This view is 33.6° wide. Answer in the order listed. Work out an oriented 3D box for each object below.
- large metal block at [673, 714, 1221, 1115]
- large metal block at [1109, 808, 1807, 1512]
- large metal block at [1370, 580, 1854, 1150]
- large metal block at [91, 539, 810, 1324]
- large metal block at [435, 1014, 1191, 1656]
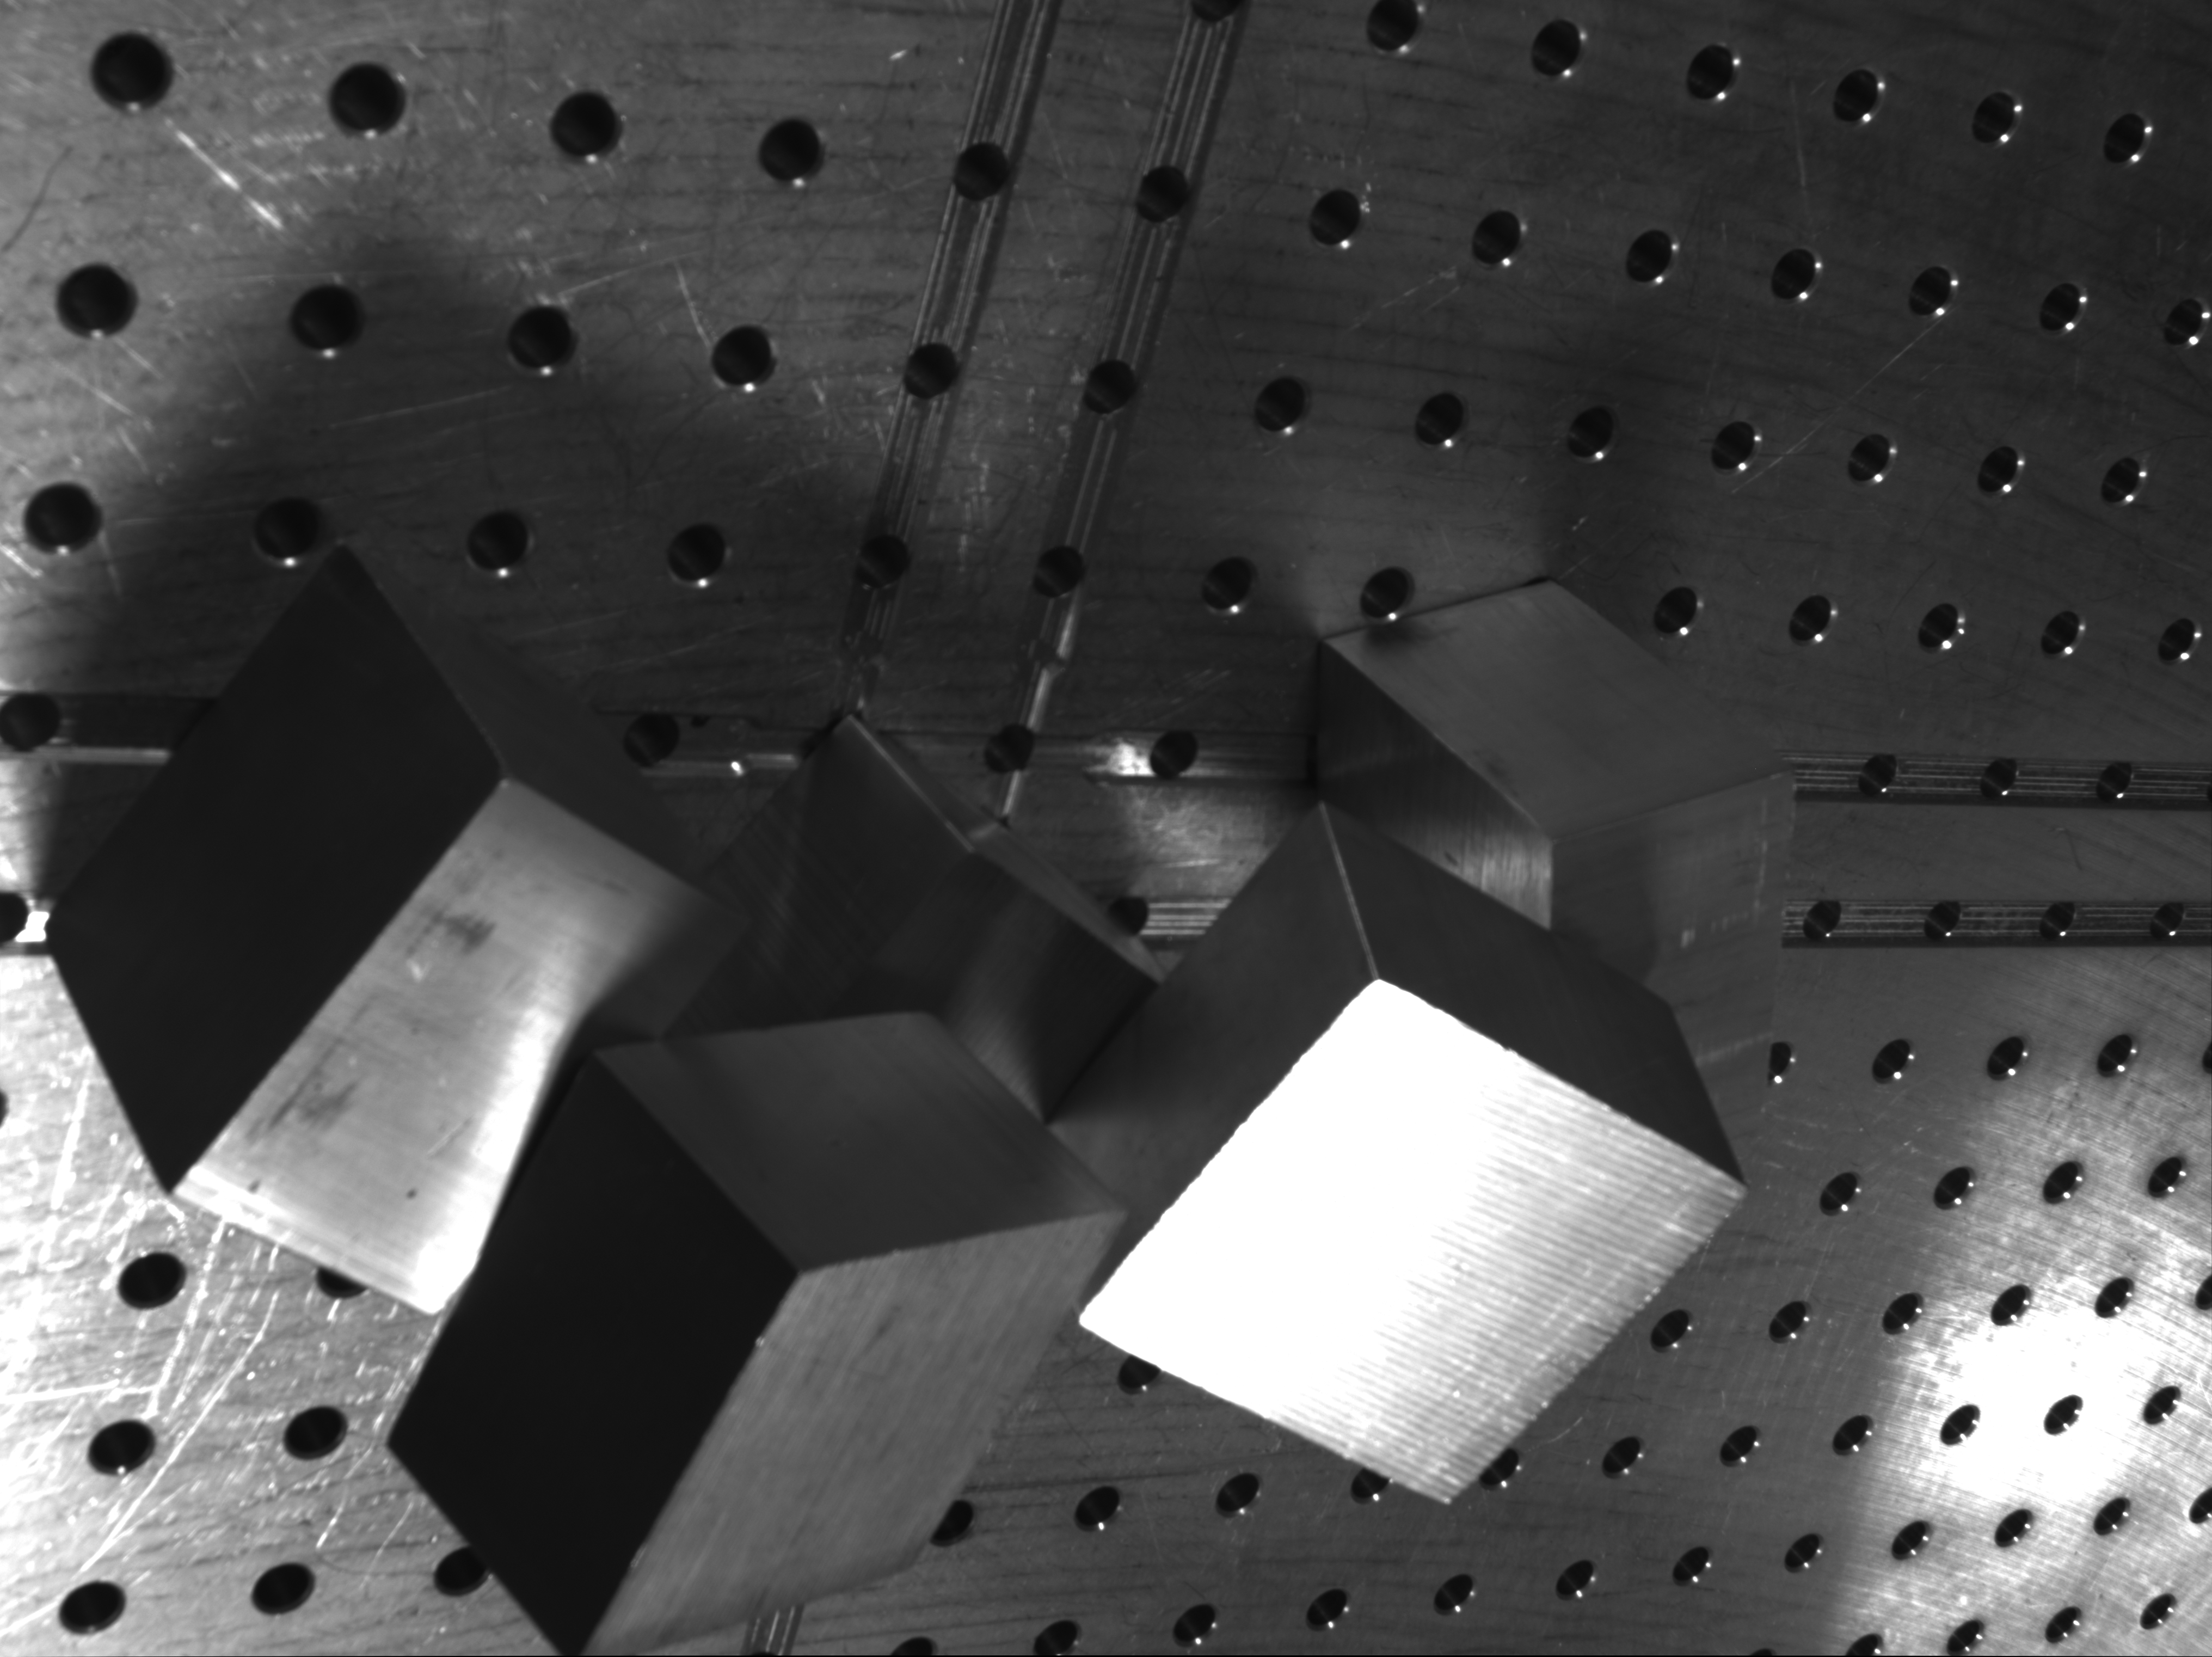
[{"bbox_3d":[-0.026,0.041,0.647,0.080,0.050,0.080,-48,130,4],"label":"large metal block"},{"bbox_3d":[0.055,0.057,0.614,0.080,0.050,0.080,29,115,-24],"label":"large metal block"},{"bbox_3d":[0.090,0.012,0.678,0.050,0.080,0.080,-15,125,-22],"label":"large metal block"},{"bbox_3d":[-0.103,0.015,0.566,0.080,0.080,0.050,-50,130,6],"label":"large metal block"},{"bbox_3d":[-0.045,0.079,0.574,0.080,0.050,0.080,-3,129,-53],"label":"large metal block"}]
